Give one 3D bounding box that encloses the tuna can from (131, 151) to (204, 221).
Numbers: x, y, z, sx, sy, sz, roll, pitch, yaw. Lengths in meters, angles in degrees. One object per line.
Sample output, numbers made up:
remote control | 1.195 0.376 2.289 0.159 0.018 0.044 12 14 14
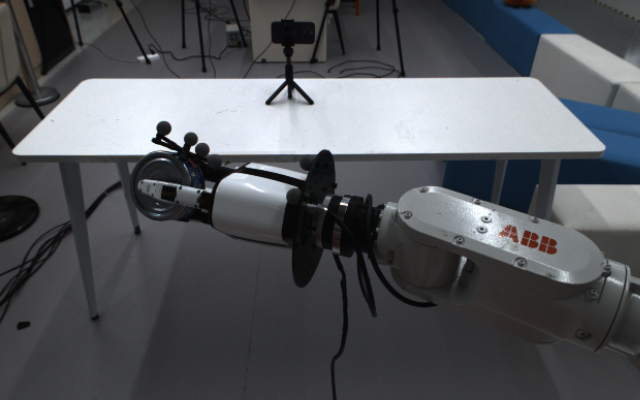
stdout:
tuna can | -0.186 -0.017 0.590 0.085 0.085 0.034 12 4 14
